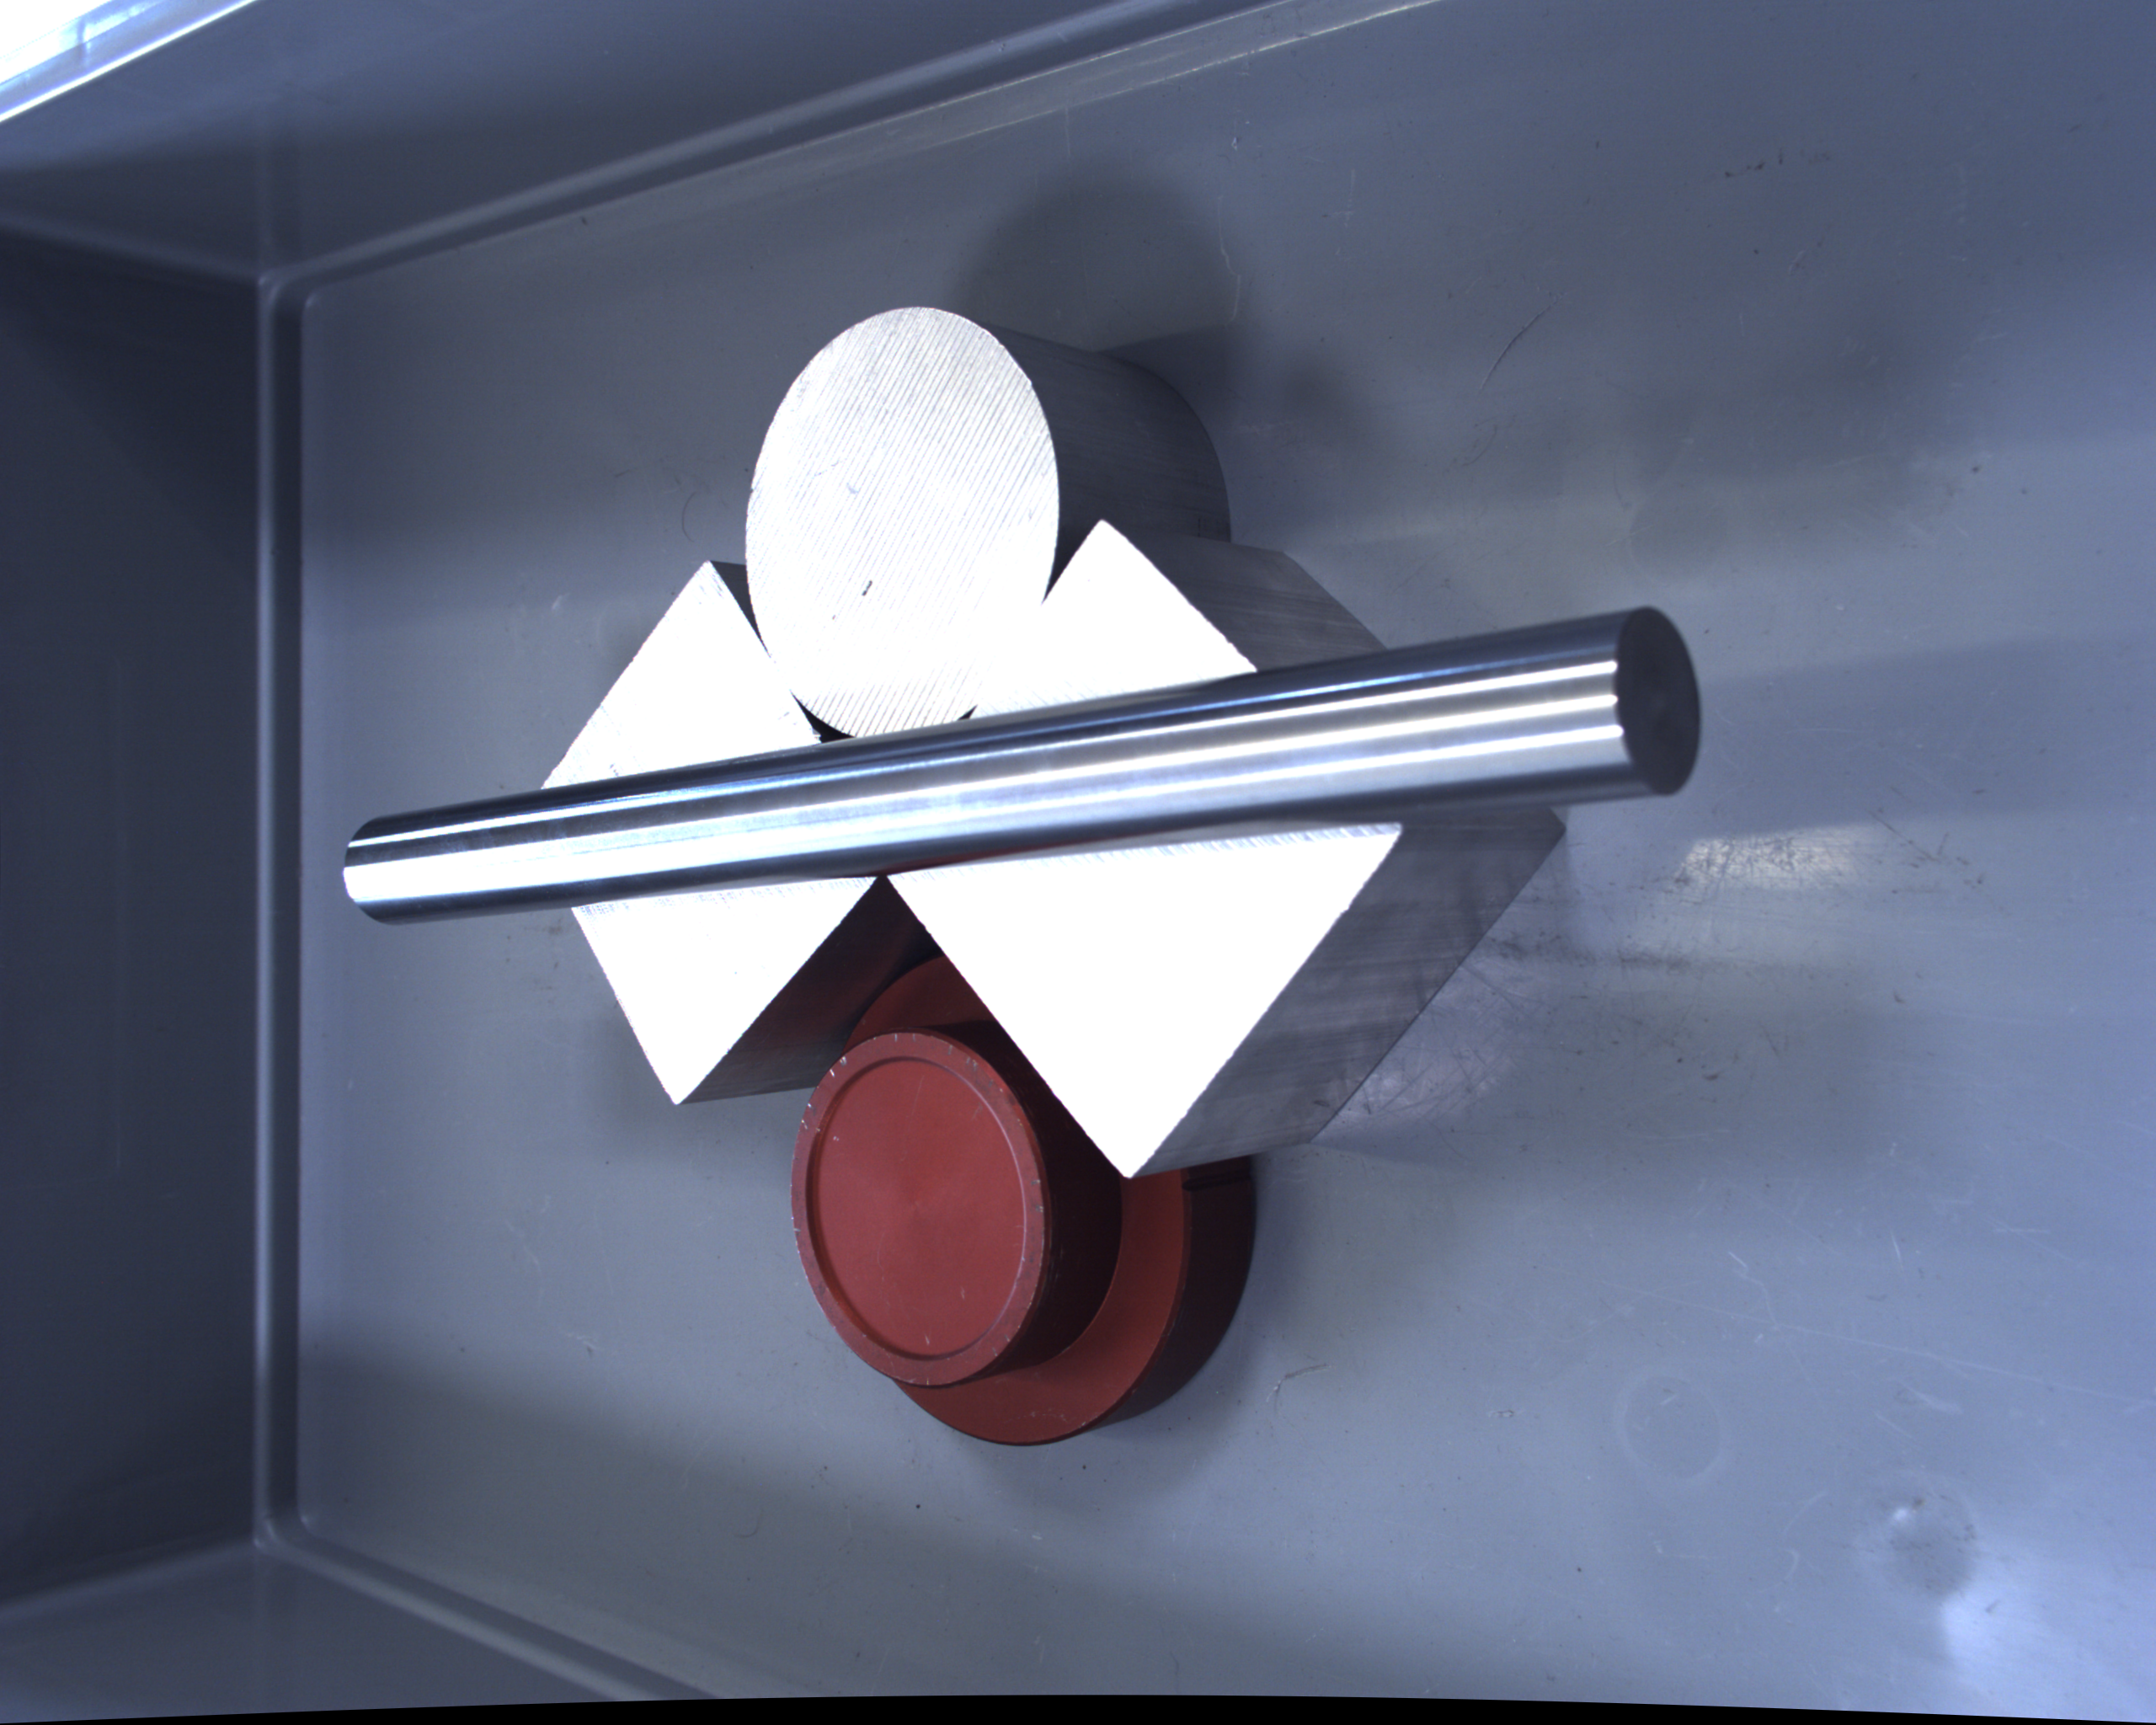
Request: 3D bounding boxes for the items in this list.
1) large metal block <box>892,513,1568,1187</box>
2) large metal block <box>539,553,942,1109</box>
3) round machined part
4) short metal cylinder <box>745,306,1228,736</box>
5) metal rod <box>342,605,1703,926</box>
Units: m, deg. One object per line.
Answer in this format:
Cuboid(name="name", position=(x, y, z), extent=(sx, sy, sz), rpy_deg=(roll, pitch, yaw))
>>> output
Cuboid(name="large metal block", position=(0.023, -0.003, 0.366), extent=(0.080, 0.050, 0.080), rpy_deg=(50, 120, 28))
Cuboid(name="large metal block", position=(-0.063, -0.006, 0.439), extent=(0.080, 0.050, 0.080), rpy_deg=(-47, 64, 29))
Cuboid(name="round machined part", position=(-0.018, 0.065, 0.408), extent=(0.098, 0.042, 0.097), rpy_deg=(0, 90, 40))
Cuboid(name="short metal cylinder", position=(-0.018, -0.062, 0.403), extent=(0.080, 0.050, 0.079), rpy_deg=(0, 90, 40))
Cuboid(name="metal rod", position=(-0.038, -0.010, 0.368), extent=(0.300, 0.025, 0.025), rpy_deg=(-6, 86, 40))
